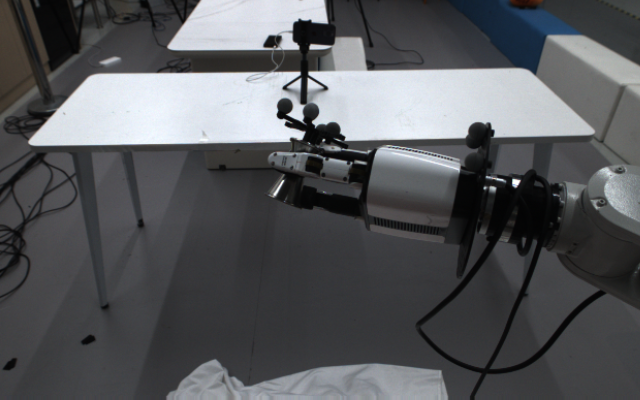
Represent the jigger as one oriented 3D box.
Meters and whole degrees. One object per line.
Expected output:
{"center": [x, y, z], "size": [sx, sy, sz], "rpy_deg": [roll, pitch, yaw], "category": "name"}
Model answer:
{"center": [-0.028, -0.029, 0.525], "size": [0.043, 0.071, 0.043], "rpy_deg": [24, -3, 1], "category": "jigger"}
